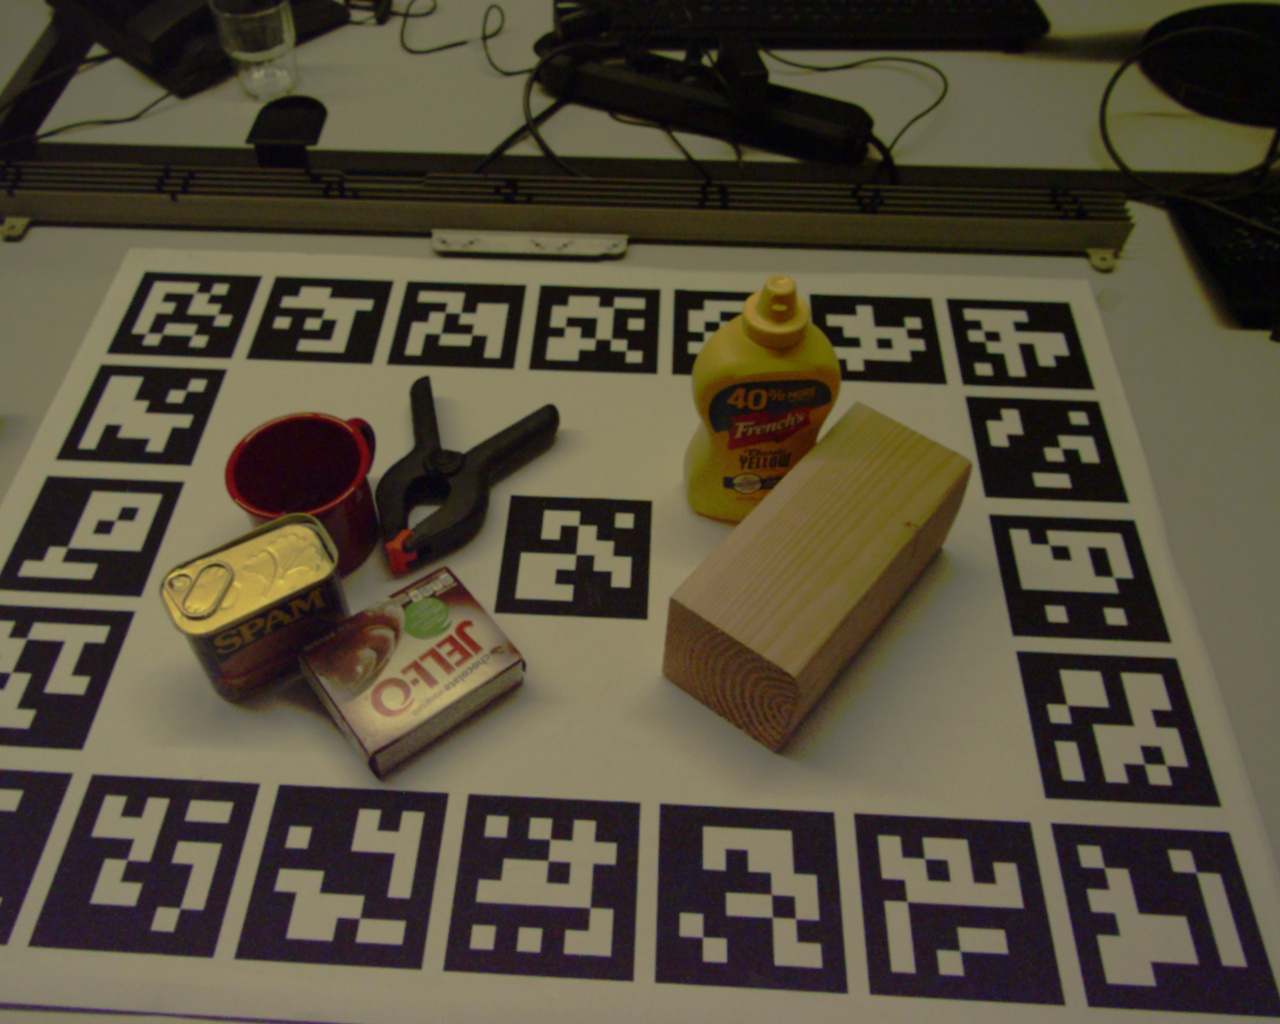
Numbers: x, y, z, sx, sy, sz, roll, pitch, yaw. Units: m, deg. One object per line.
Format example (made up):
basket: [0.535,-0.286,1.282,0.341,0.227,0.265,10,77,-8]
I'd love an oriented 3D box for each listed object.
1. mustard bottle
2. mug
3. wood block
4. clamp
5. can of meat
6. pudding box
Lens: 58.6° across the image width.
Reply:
mustard bottle: [0.076,-0.078,0.778,0.096,0.191,0.059,-2,53,-2]
mug: [-0.223,-0.008,0.822,0.094,0.081,0.117,20,56,14]
wood block: [0.113,0.040,0.757,0.091,0.090,0.205,32,57,24]
clamp: [-0.140,-0.034,0.848,0.122,0.036,0.164,18,56,11]
can of meat: [-0.237,0.060,0.734,0.101,0.083,0.058,-23,57,-17]
pudding box: [-0.140,0.097,0.740,0.113,0.038,0.091,-31,59,-24]
